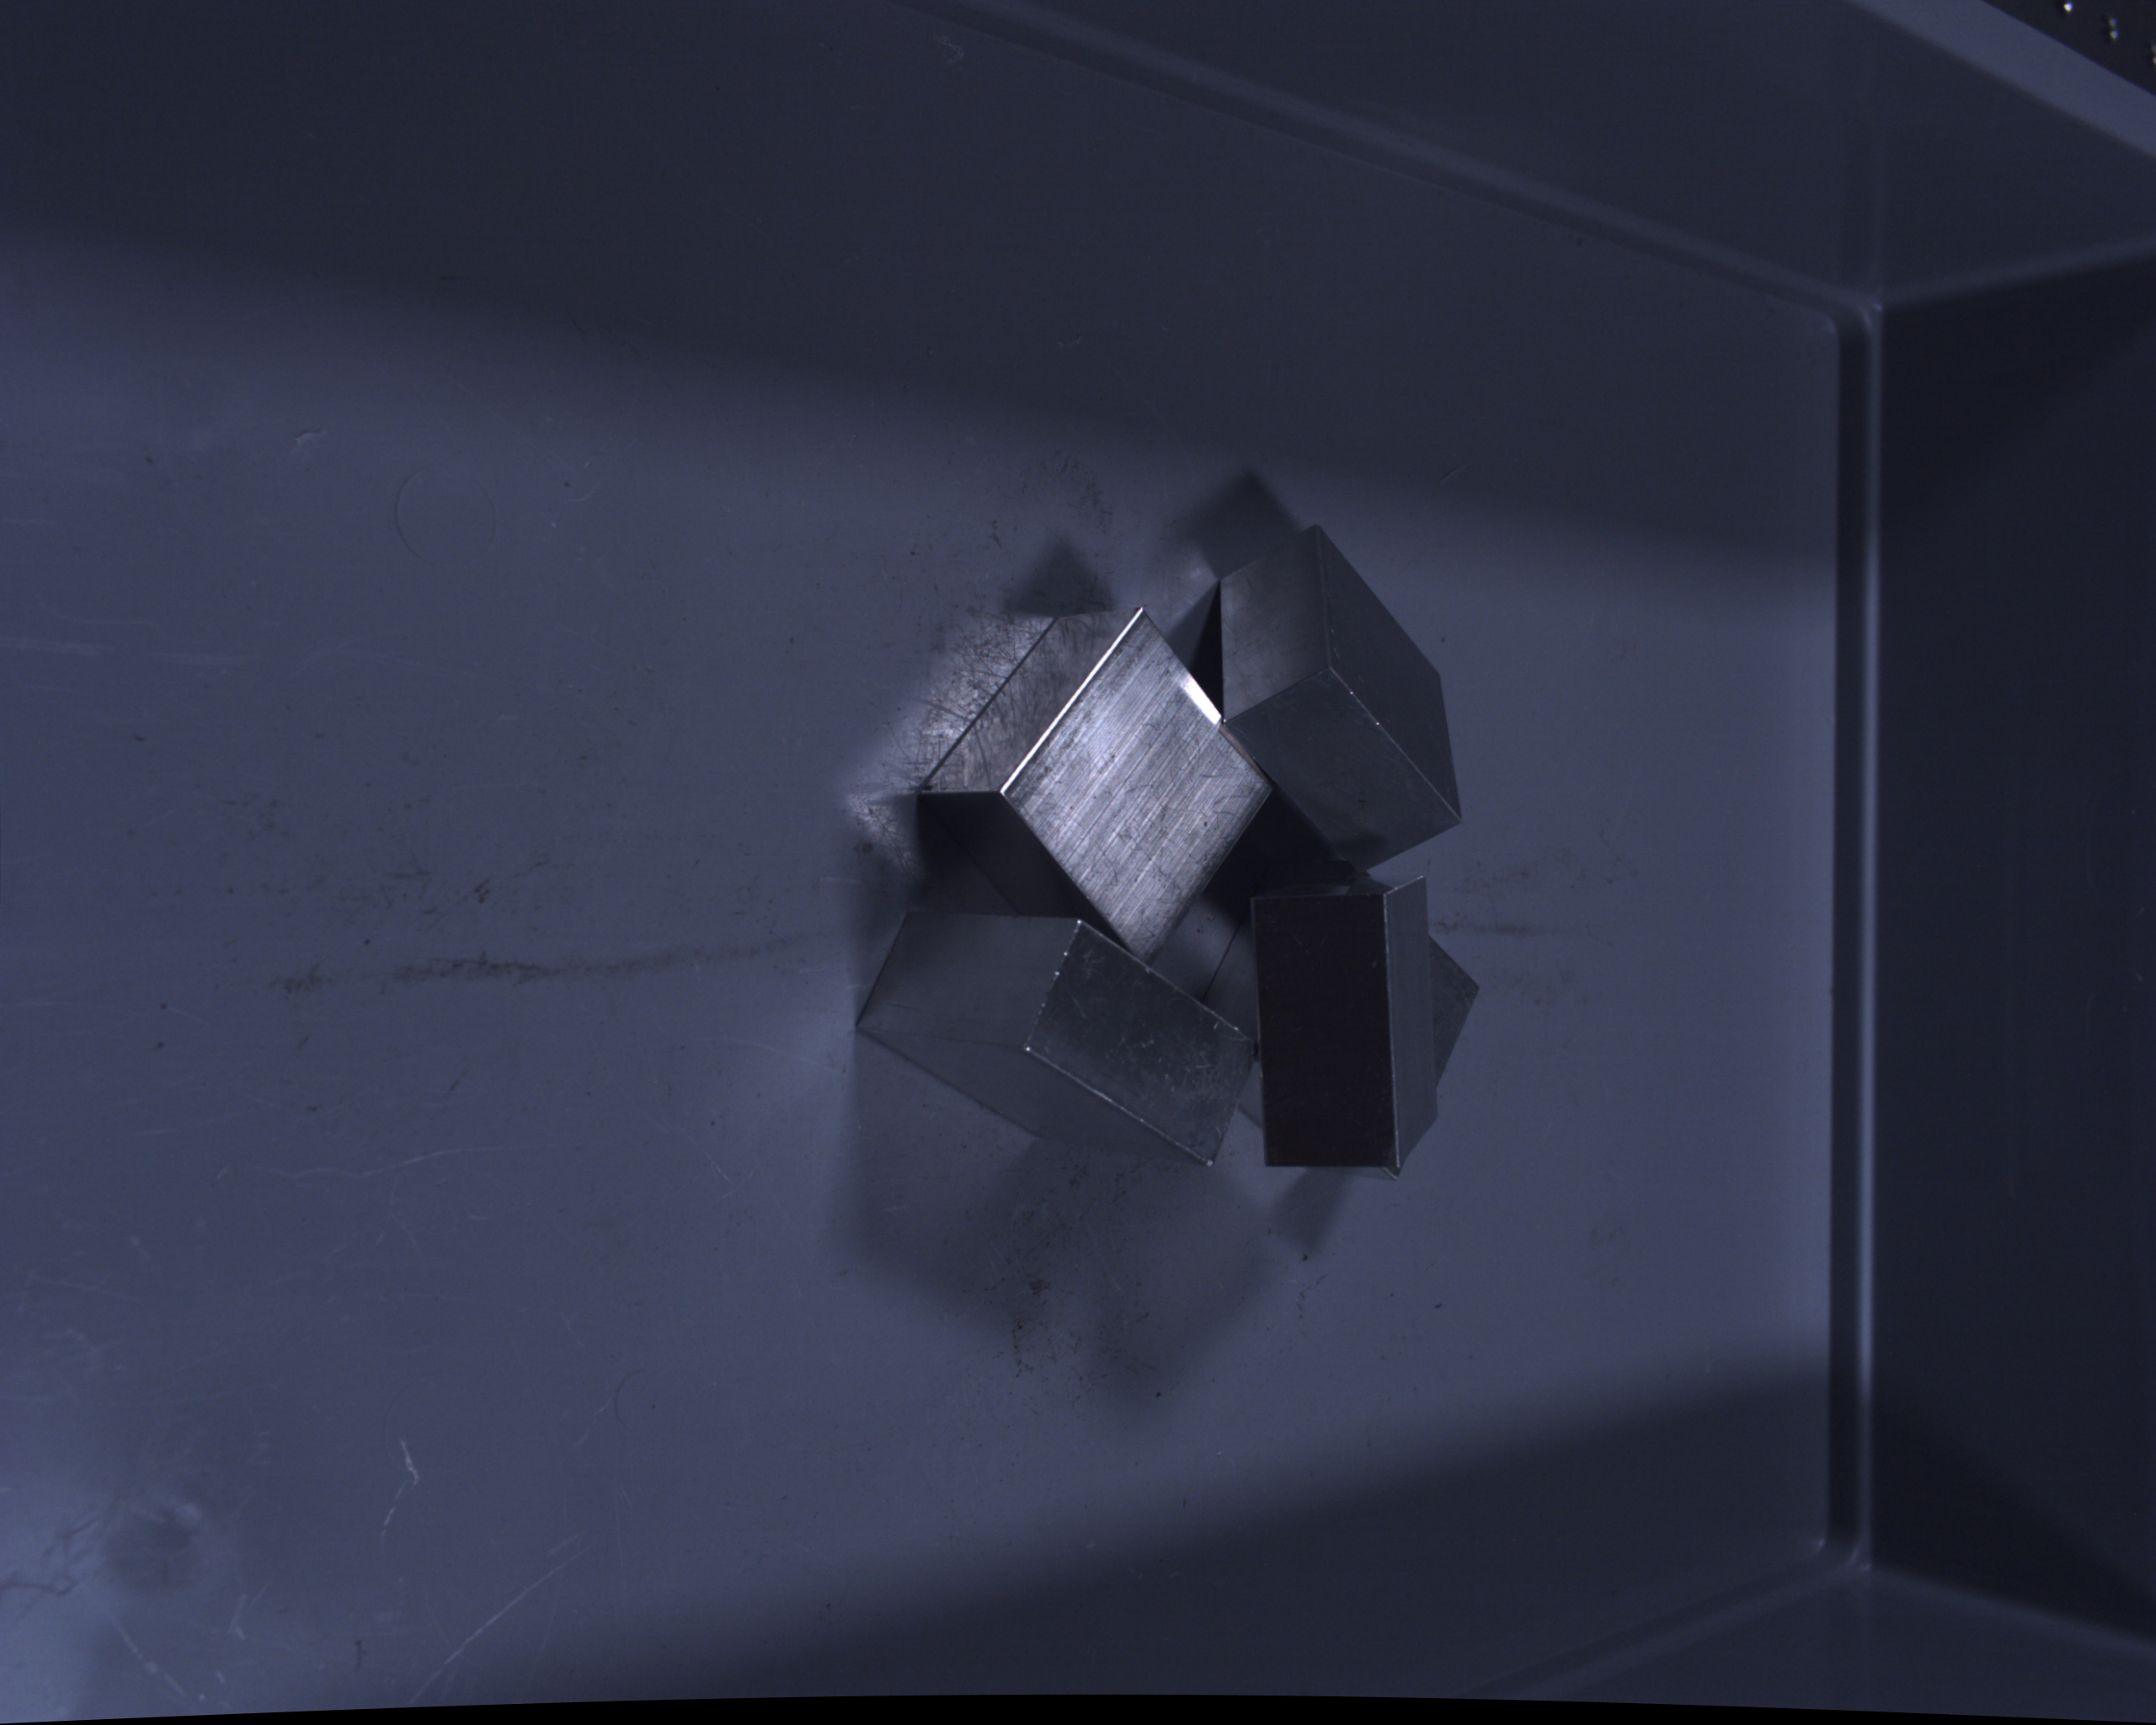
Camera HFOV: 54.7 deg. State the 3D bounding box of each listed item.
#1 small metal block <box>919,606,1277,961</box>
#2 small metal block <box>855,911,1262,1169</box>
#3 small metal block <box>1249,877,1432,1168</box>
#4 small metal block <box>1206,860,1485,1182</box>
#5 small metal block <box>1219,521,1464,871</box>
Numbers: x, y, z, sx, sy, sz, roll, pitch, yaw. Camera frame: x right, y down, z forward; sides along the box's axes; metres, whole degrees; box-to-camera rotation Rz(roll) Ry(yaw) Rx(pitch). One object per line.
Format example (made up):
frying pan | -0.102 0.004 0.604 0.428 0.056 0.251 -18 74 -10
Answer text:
small metal block | 0.005 -0.014 0.410 0.050 0.025 0.050 51 60 -28
small metal block | -0.004 0.032 0.386 0.050 0.050 0.025 36 68 -35
small metal block | 0.052 0.029 0.403 0.050 0.025 0.050 -11 98 -72
small metal block | 0.056 0.034 0.454 0.050 0.025 0.050 43 64 -32
small metal block | 0.055 -0.035 0.438 0.050 0.025 0.050 45 30 -31
